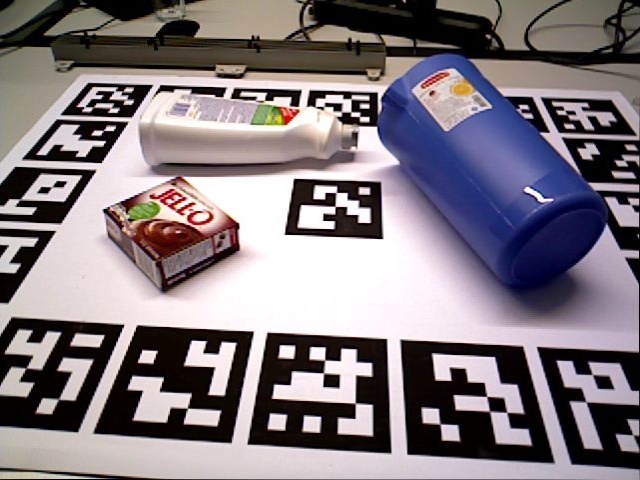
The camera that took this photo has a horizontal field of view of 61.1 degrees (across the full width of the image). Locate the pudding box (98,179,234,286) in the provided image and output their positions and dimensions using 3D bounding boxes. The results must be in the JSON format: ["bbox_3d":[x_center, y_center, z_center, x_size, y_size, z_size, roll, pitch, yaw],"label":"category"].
[{"bbox_3d":[-0.152,-0.013,0.529,0.088,0.039,0.113,-25,50,-33],"label":"pudding box"}]

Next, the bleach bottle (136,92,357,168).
[{"bbox_3d":[-0.081,-0.130,0.646,0.249,0.069,0.101,3,47,0],"label":"bleach bottle"}]

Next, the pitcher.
[{"bbox_3d":[0.171,-0.057,0.542,0.186,0.136,0.240,15,36,-39],"label":"pitcher"}]
